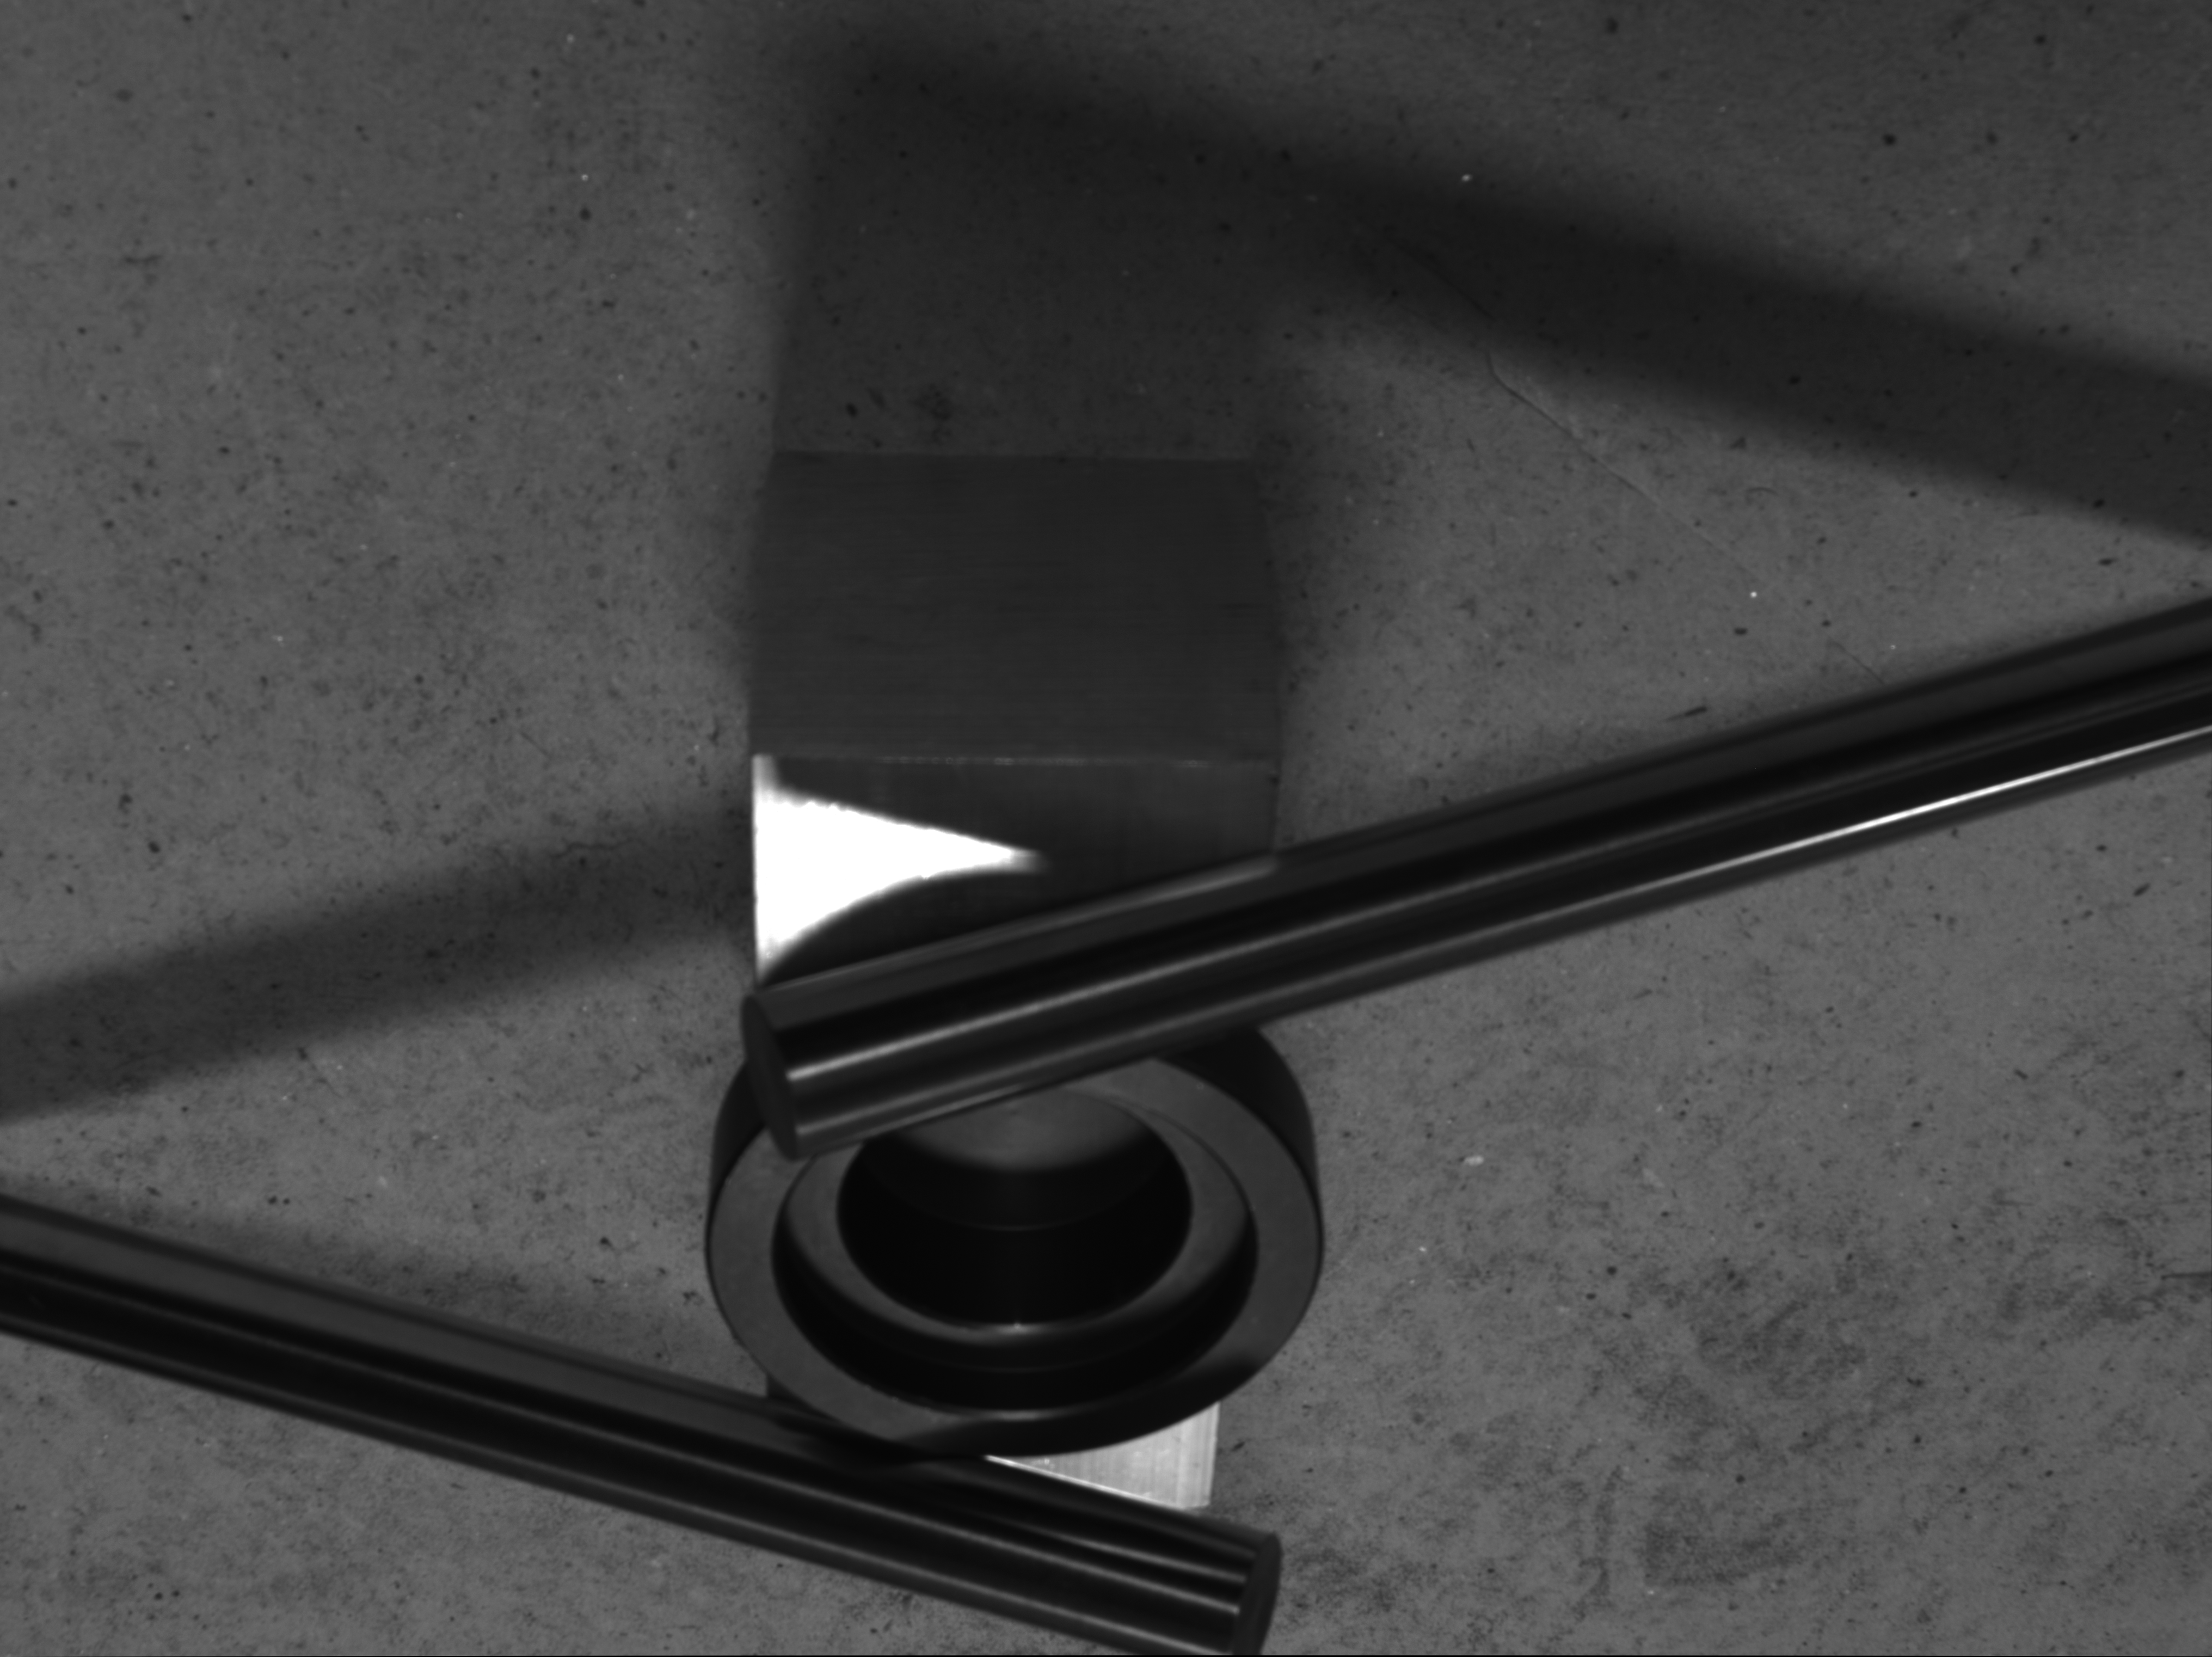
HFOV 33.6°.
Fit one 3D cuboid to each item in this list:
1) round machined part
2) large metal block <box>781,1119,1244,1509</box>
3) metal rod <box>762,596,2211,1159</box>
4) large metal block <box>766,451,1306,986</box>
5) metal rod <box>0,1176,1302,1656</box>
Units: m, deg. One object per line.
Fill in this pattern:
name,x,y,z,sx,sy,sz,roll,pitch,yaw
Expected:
round machined part,-0.012,0.055,0.596,0.098,0.042,0.098,-1,130,-1
large metal block,-0.017,0.076,0.666,0.080,0.080,0.050,1,130,-2
metal rod,0.093,-0.002,0.570,0.300,0.025,0.025,-15,132,-18
large metal block,-0.012,-0.017,0.588,0.080,0.080,0.050,1,130,-2
metal rod,-0.111,0.097,0.643,0.300,0.025,0.025,12,133,18
